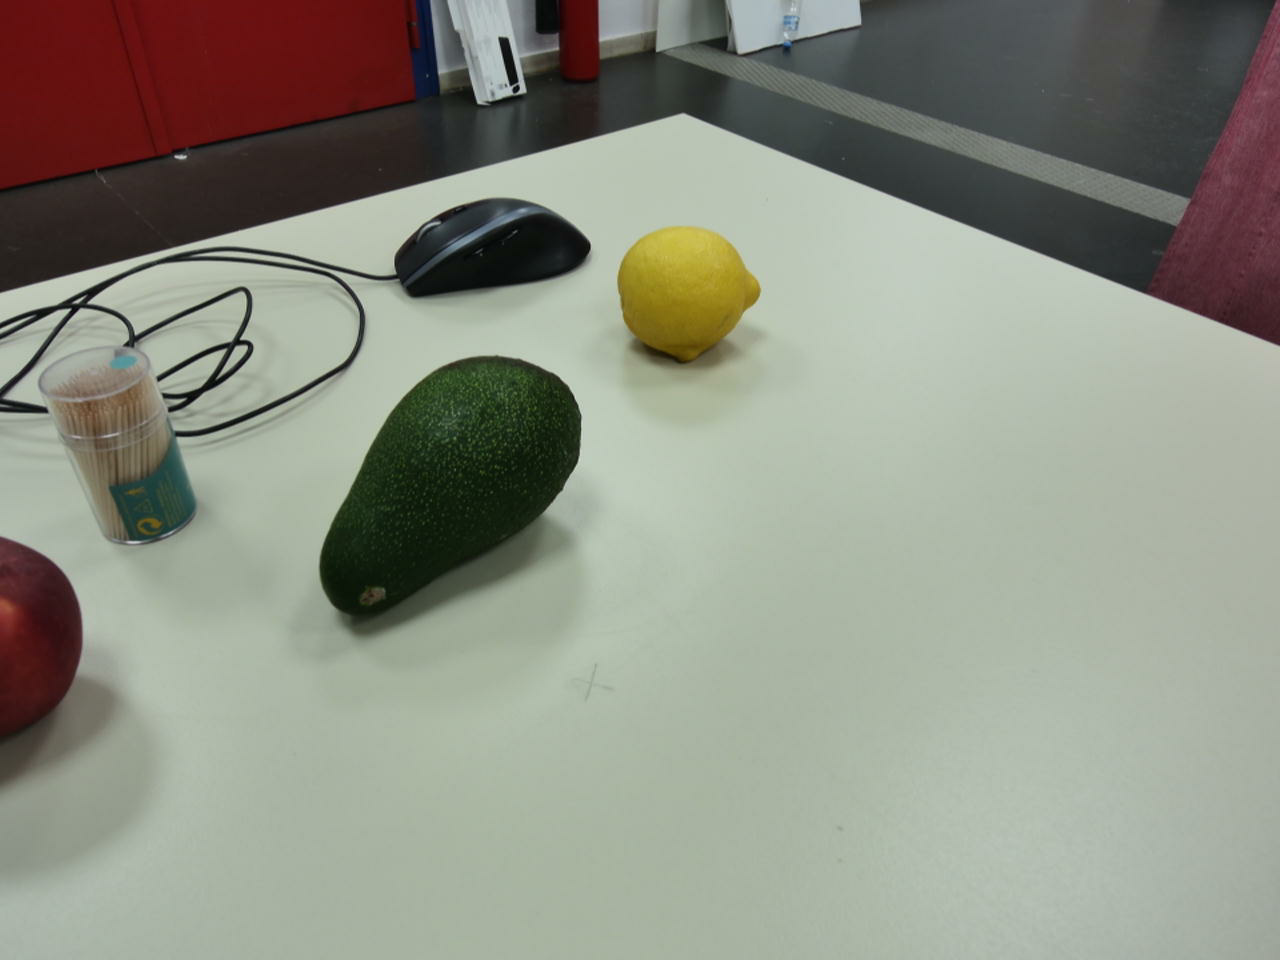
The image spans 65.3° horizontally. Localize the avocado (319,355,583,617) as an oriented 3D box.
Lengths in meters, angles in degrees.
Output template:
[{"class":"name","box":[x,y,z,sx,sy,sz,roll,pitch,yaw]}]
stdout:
[{"class":"avocado","box":[-0.079,-0.006,0.403,0.123,0.076,0.074,-21,42,-27]}]
